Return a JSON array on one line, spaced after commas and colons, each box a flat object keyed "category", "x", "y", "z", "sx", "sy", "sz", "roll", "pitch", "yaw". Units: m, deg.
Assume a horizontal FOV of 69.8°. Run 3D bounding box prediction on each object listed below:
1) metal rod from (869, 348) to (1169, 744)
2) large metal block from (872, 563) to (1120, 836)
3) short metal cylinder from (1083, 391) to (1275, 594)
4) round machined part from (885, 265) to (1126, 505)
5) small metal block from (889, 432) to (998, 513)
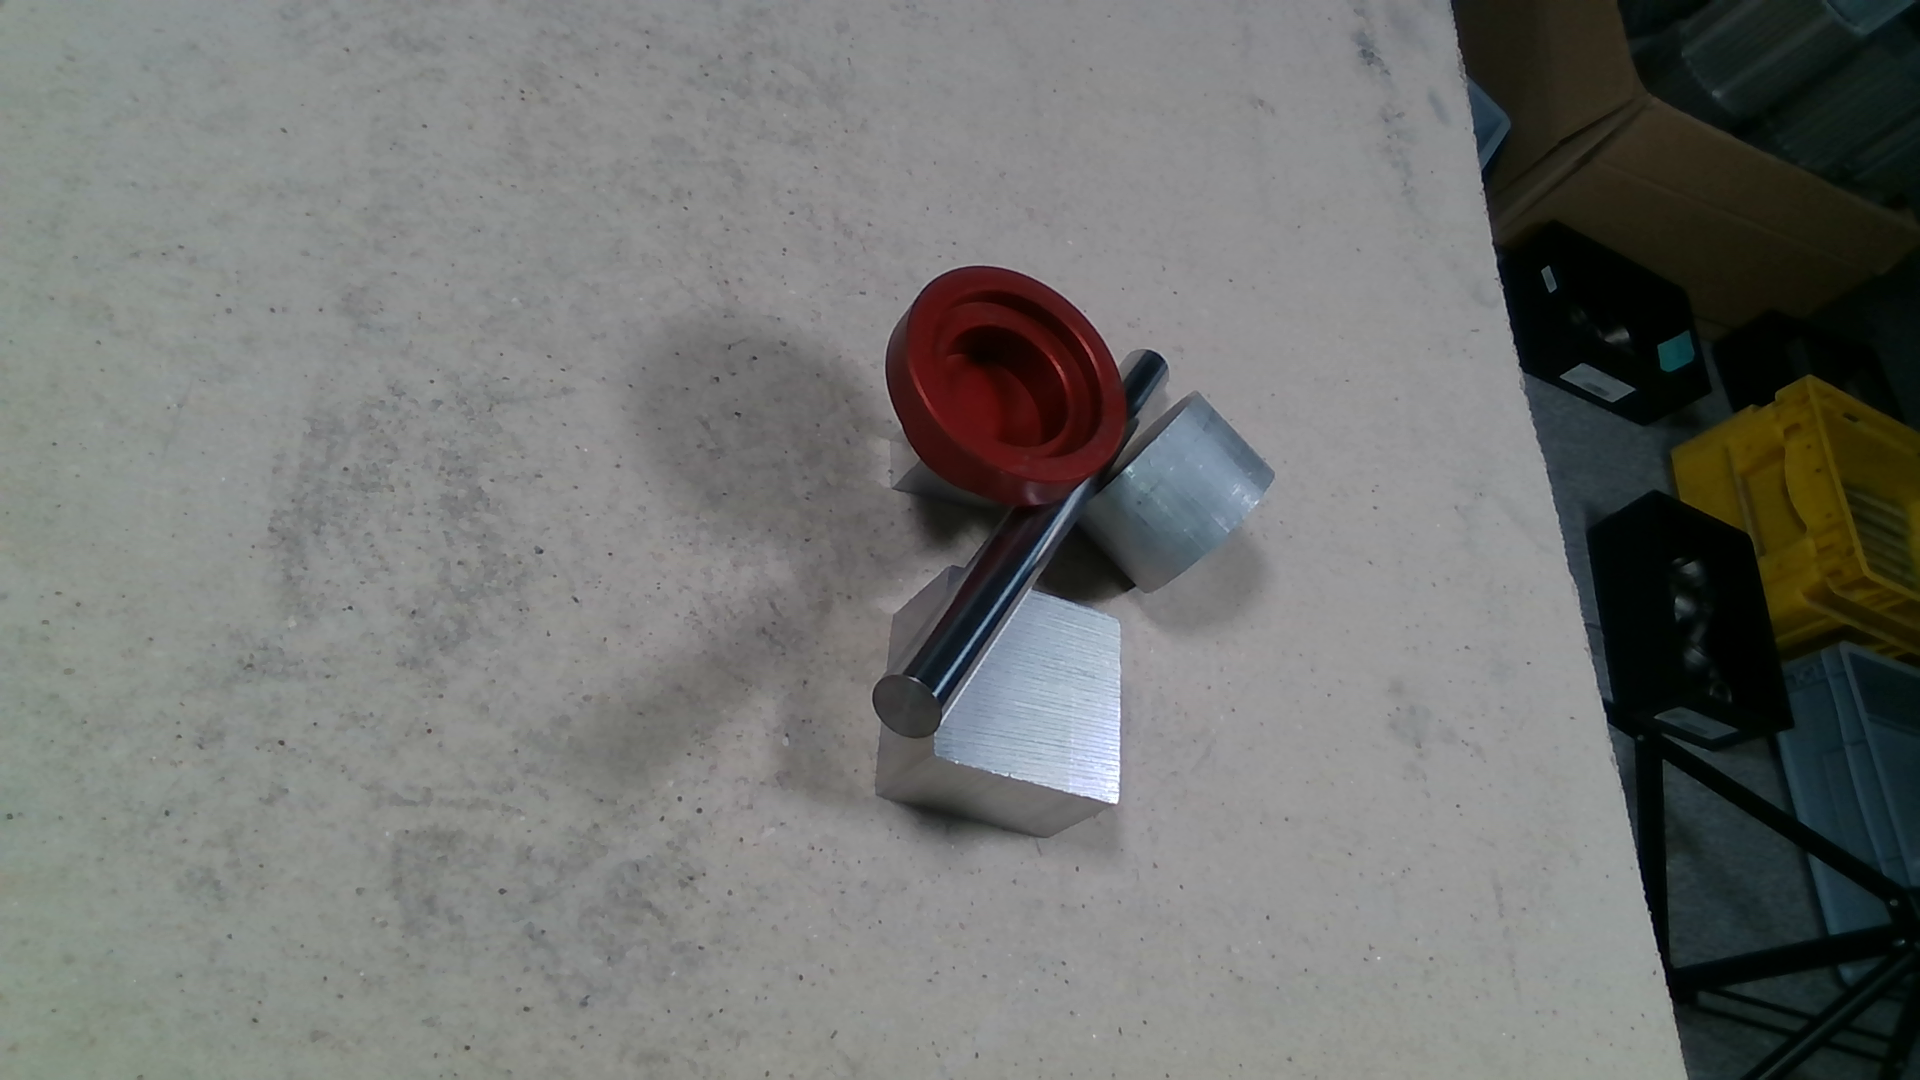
[{"category": "metal rod", "x": 0.037, "y": -0.014, "z": 0.568, "sx": 0.025, "sy": 0.025, "sz": 0.299, "roll": 44, "pitch": 37, "yaw": -4}, {"category": "large metal block", "x": 0.016, "y": 0.065, "z": 0.545, "sx": 0.080, "sy": 0.050, "sz": 0.080, "roll": 18, "pitch": 57, "yaw": -23}, {"category": "short metal cylinder", "x": 0.094, "y": -0.022, "z": 0.620, "sx": 0.050, "sy": 0.080, "sz": 0.080, "roll": 46, "pitch": 51, "yaw": -3}, {"category": "round machined part", "x": 0.014, "y": -0.057, "z": 0.551, "sx": 0.098, "sy": 0.042, "sz": 0.098, "roll": 14, "pitch": 59, "yaw": -24}, {"category": "small metal block", "x": 0.003, "y": -0.039, "z": 0.593, "sx": 0.050, "sy": 0.050, "sz": 0.025, "roll": 12, "pitch": 59, "yaw": -26}]
